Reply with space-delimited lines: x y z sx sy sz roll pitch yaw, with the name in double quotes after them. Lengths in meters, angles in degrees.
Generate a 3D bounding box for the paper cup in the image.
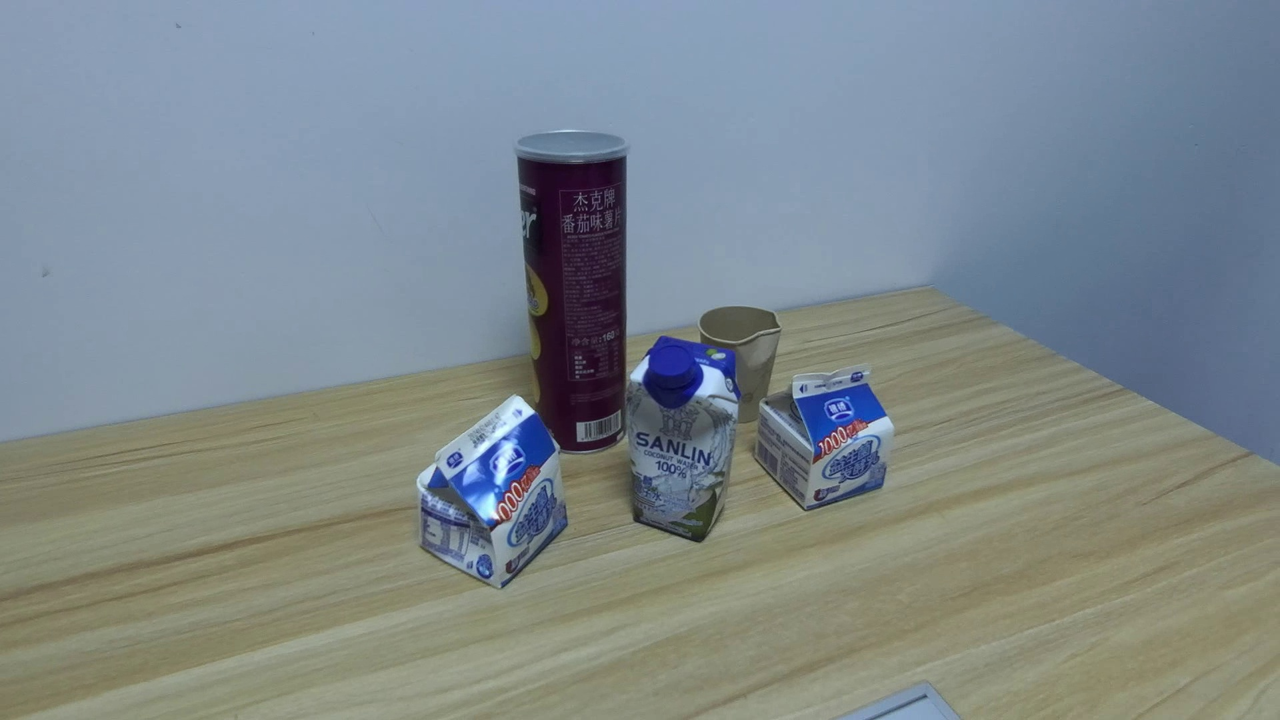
0.080 0.005 0.597 0.069 0.081 0.073 0 27 -1 "paper cup"

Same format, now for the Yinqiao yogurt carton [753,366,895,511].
0.137 0.046 0.522 0.076 0.092 0.073 -10 29 -22 "Yinqiao yogurt carton"

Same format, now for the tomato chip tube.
-0.046 -0.045 0.536 0.078 0.234 0.078 1 29 0 "tomato chip tube"

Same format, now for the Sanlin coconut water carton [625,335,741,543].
0.027 0.048 0.464 0.078 0.142 0.058 13 36 21 "Sanlin coconut water carton"

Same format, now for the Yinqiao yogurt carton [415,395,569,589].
-0.096 0.076 0.460 0.077 0.093 0.083 17 32 28 "Yinqiao yogurt carton"
